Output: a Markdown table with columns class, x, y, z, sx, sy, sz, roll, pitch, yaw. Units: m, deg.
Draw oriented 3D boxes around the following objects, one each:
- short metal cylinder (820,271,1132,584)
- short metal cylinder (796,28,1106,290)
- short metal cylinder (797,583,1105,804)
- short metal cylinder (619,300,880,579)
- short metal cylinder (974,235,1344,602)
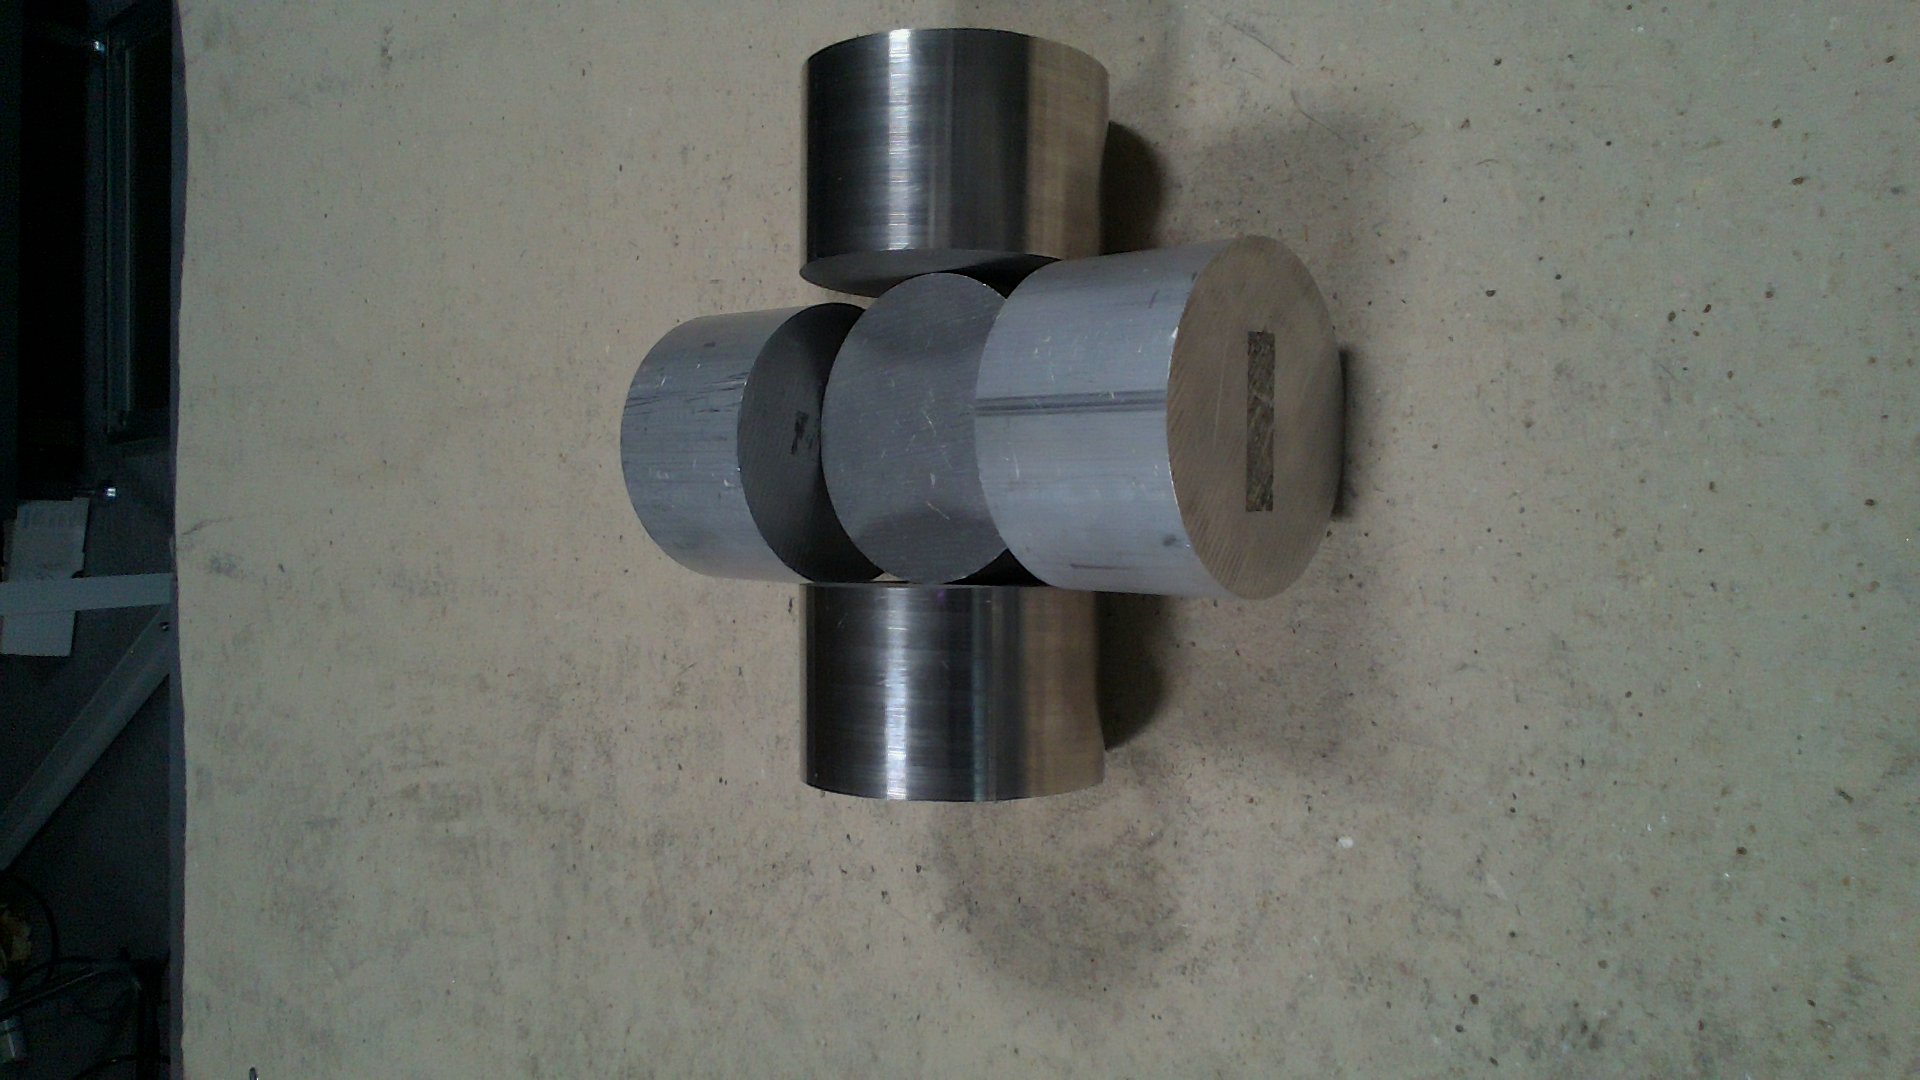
| class | x | y | z | sx | sy | sz | roll | pitch | yaw |
| --- | --- | --- | --- | --- | --- | --- | --- | --- | --- |
| short metal cylinder | 0.008 | -0.029 | 0.372 | 0.080 | 0.050 | 0.080 | 0 | 90 | 40 |
| short metal cylinder | -0.002 | -0.095 | 0.360 | 0.080 | 0.080 | 0.050 | 2 | 92 | 40 |
| short metal cylinder | -0.002 | 0.037 | 0.361 | 0.080 | 0.080 | 0.050 | 0 | 90 | 40 |
| short metal cylinder | -0.051 | -0.028 | 0.403 | 0.050 | 0.080 | 0.080 | 2 | 92 | 40 |
| short metal cylinder | 0.048 | -0.027 | 0.319 | 0.050 | 0.080 | 0.080 | 2 | 92 | 40 |
